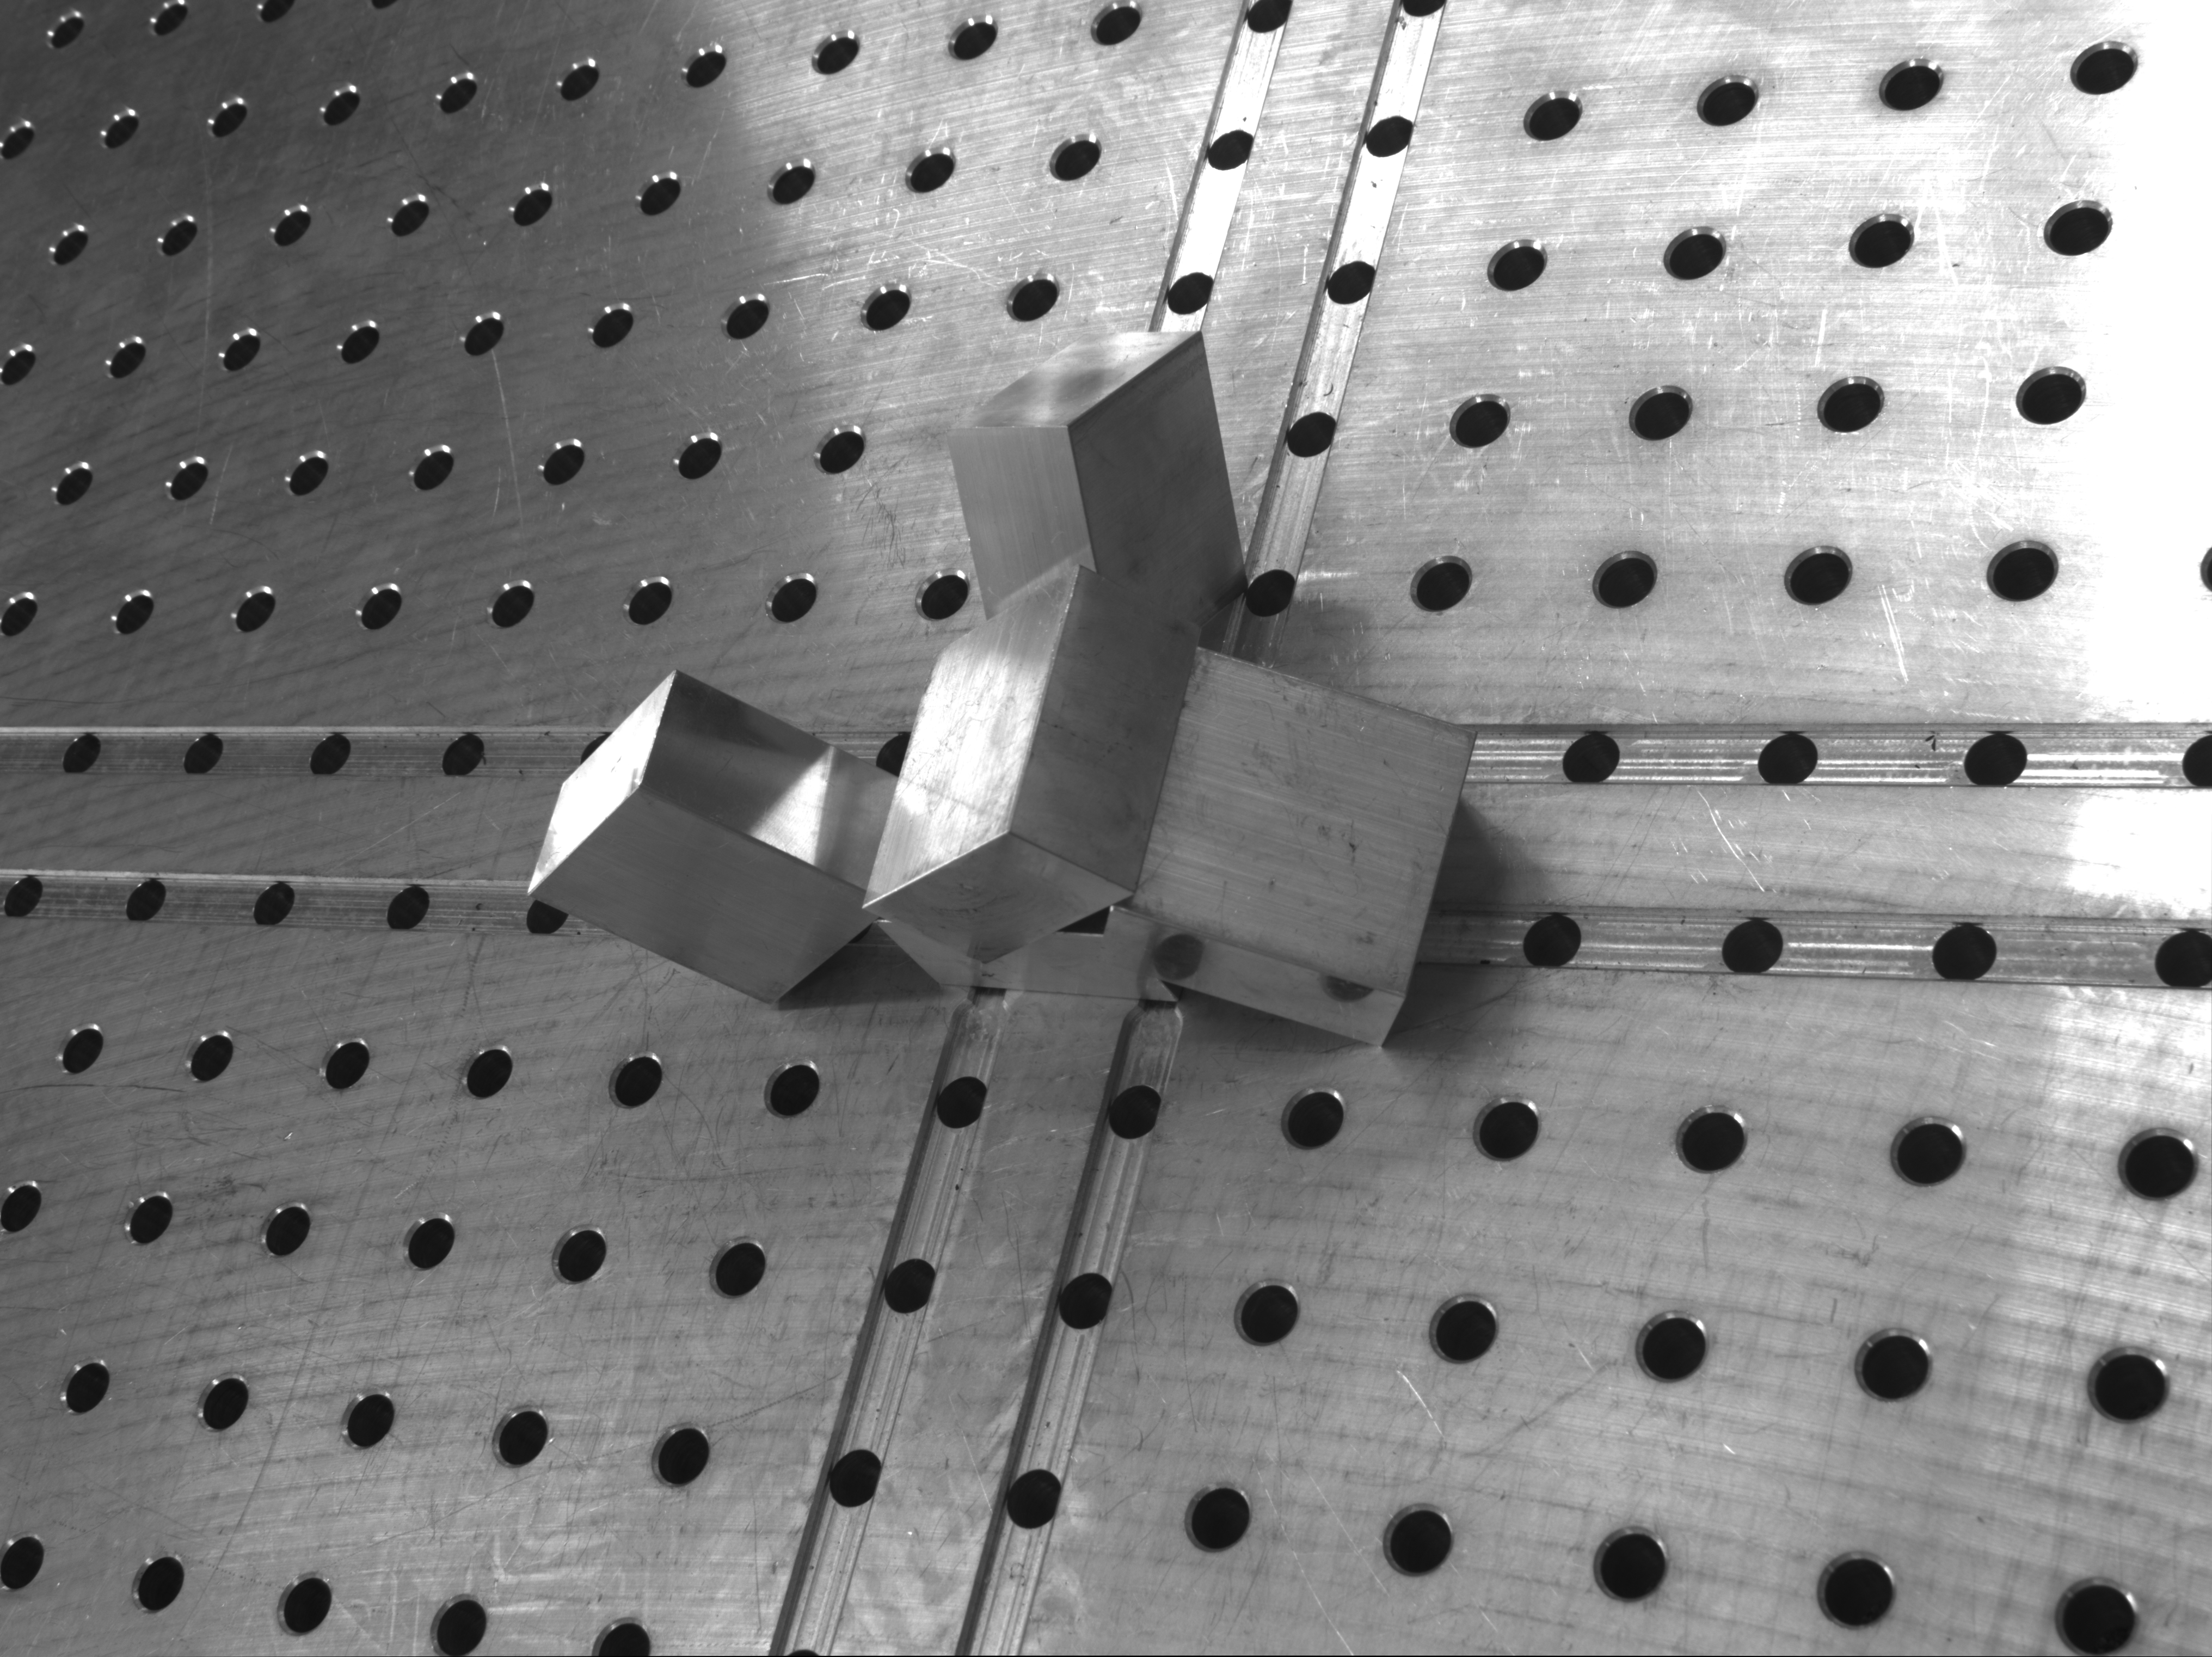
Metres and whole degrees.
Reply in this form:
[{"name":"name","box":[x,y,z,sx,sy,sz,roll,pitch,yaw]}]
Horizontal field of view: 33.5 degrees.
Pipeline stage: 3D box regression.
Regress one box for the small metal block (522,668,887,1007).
[{"name":"small metal block","box":[-0.069,0.003,0.655,0.050,0.050,0.025,-37,33,51]}]

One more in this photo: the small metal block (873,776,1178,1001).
[{"name":"small metal block","box":[-0.008,0.001,0.653,0.050,0.025,0.050,2,63,30]}]

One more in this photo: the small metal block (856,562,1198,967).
[{"name":"small metal block","box":[-0.013,-0.010,0.615,0.050,0.025,0.050,-28,42,55]}]

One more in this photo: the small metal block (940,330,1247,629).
[{"name":"small metal block","box":[-0.001,-0.056,0.655,0.025,0.050,0.050,3,27,30]}]

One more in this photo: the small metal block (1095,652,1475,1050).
[{"name":"small metal block","box":[0.030,0.003,0.616,0.050,0.025,0.050,16,66,2]}]
